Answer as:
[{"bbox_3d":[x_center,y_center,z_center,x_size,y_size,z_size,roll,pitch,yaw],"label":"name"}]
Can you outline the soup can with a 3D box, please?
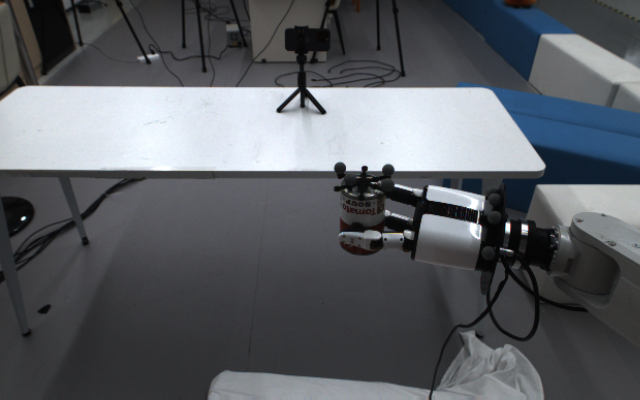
[{"bbox_3d":[0.064,0.020,0.714,0.067,0.101,0.067,-2,34,1],"label":"soup can"}]
